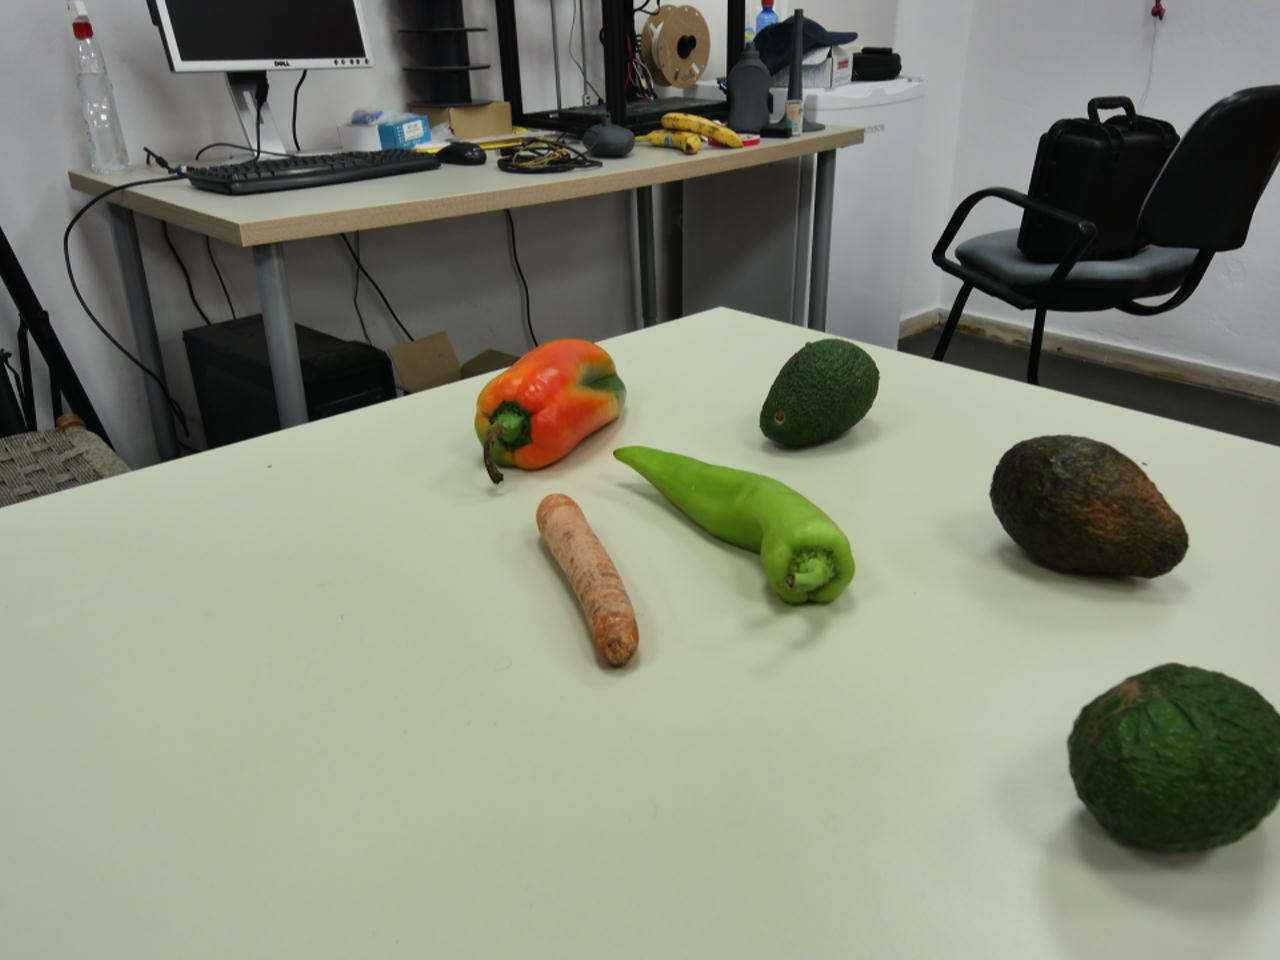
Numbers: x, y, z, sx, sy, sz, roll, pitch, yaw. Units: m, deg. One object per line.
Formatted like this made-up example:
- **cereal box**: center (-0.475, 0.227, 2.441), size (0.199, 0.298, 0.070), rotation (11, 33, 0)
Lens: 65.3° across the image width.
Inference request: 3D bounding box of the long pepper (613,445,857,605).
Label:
- **long pepper**: center (0.055, 0.015, 0.561), size (0.065, 0.045, 0.204), rotation (-10, 26, -23)
